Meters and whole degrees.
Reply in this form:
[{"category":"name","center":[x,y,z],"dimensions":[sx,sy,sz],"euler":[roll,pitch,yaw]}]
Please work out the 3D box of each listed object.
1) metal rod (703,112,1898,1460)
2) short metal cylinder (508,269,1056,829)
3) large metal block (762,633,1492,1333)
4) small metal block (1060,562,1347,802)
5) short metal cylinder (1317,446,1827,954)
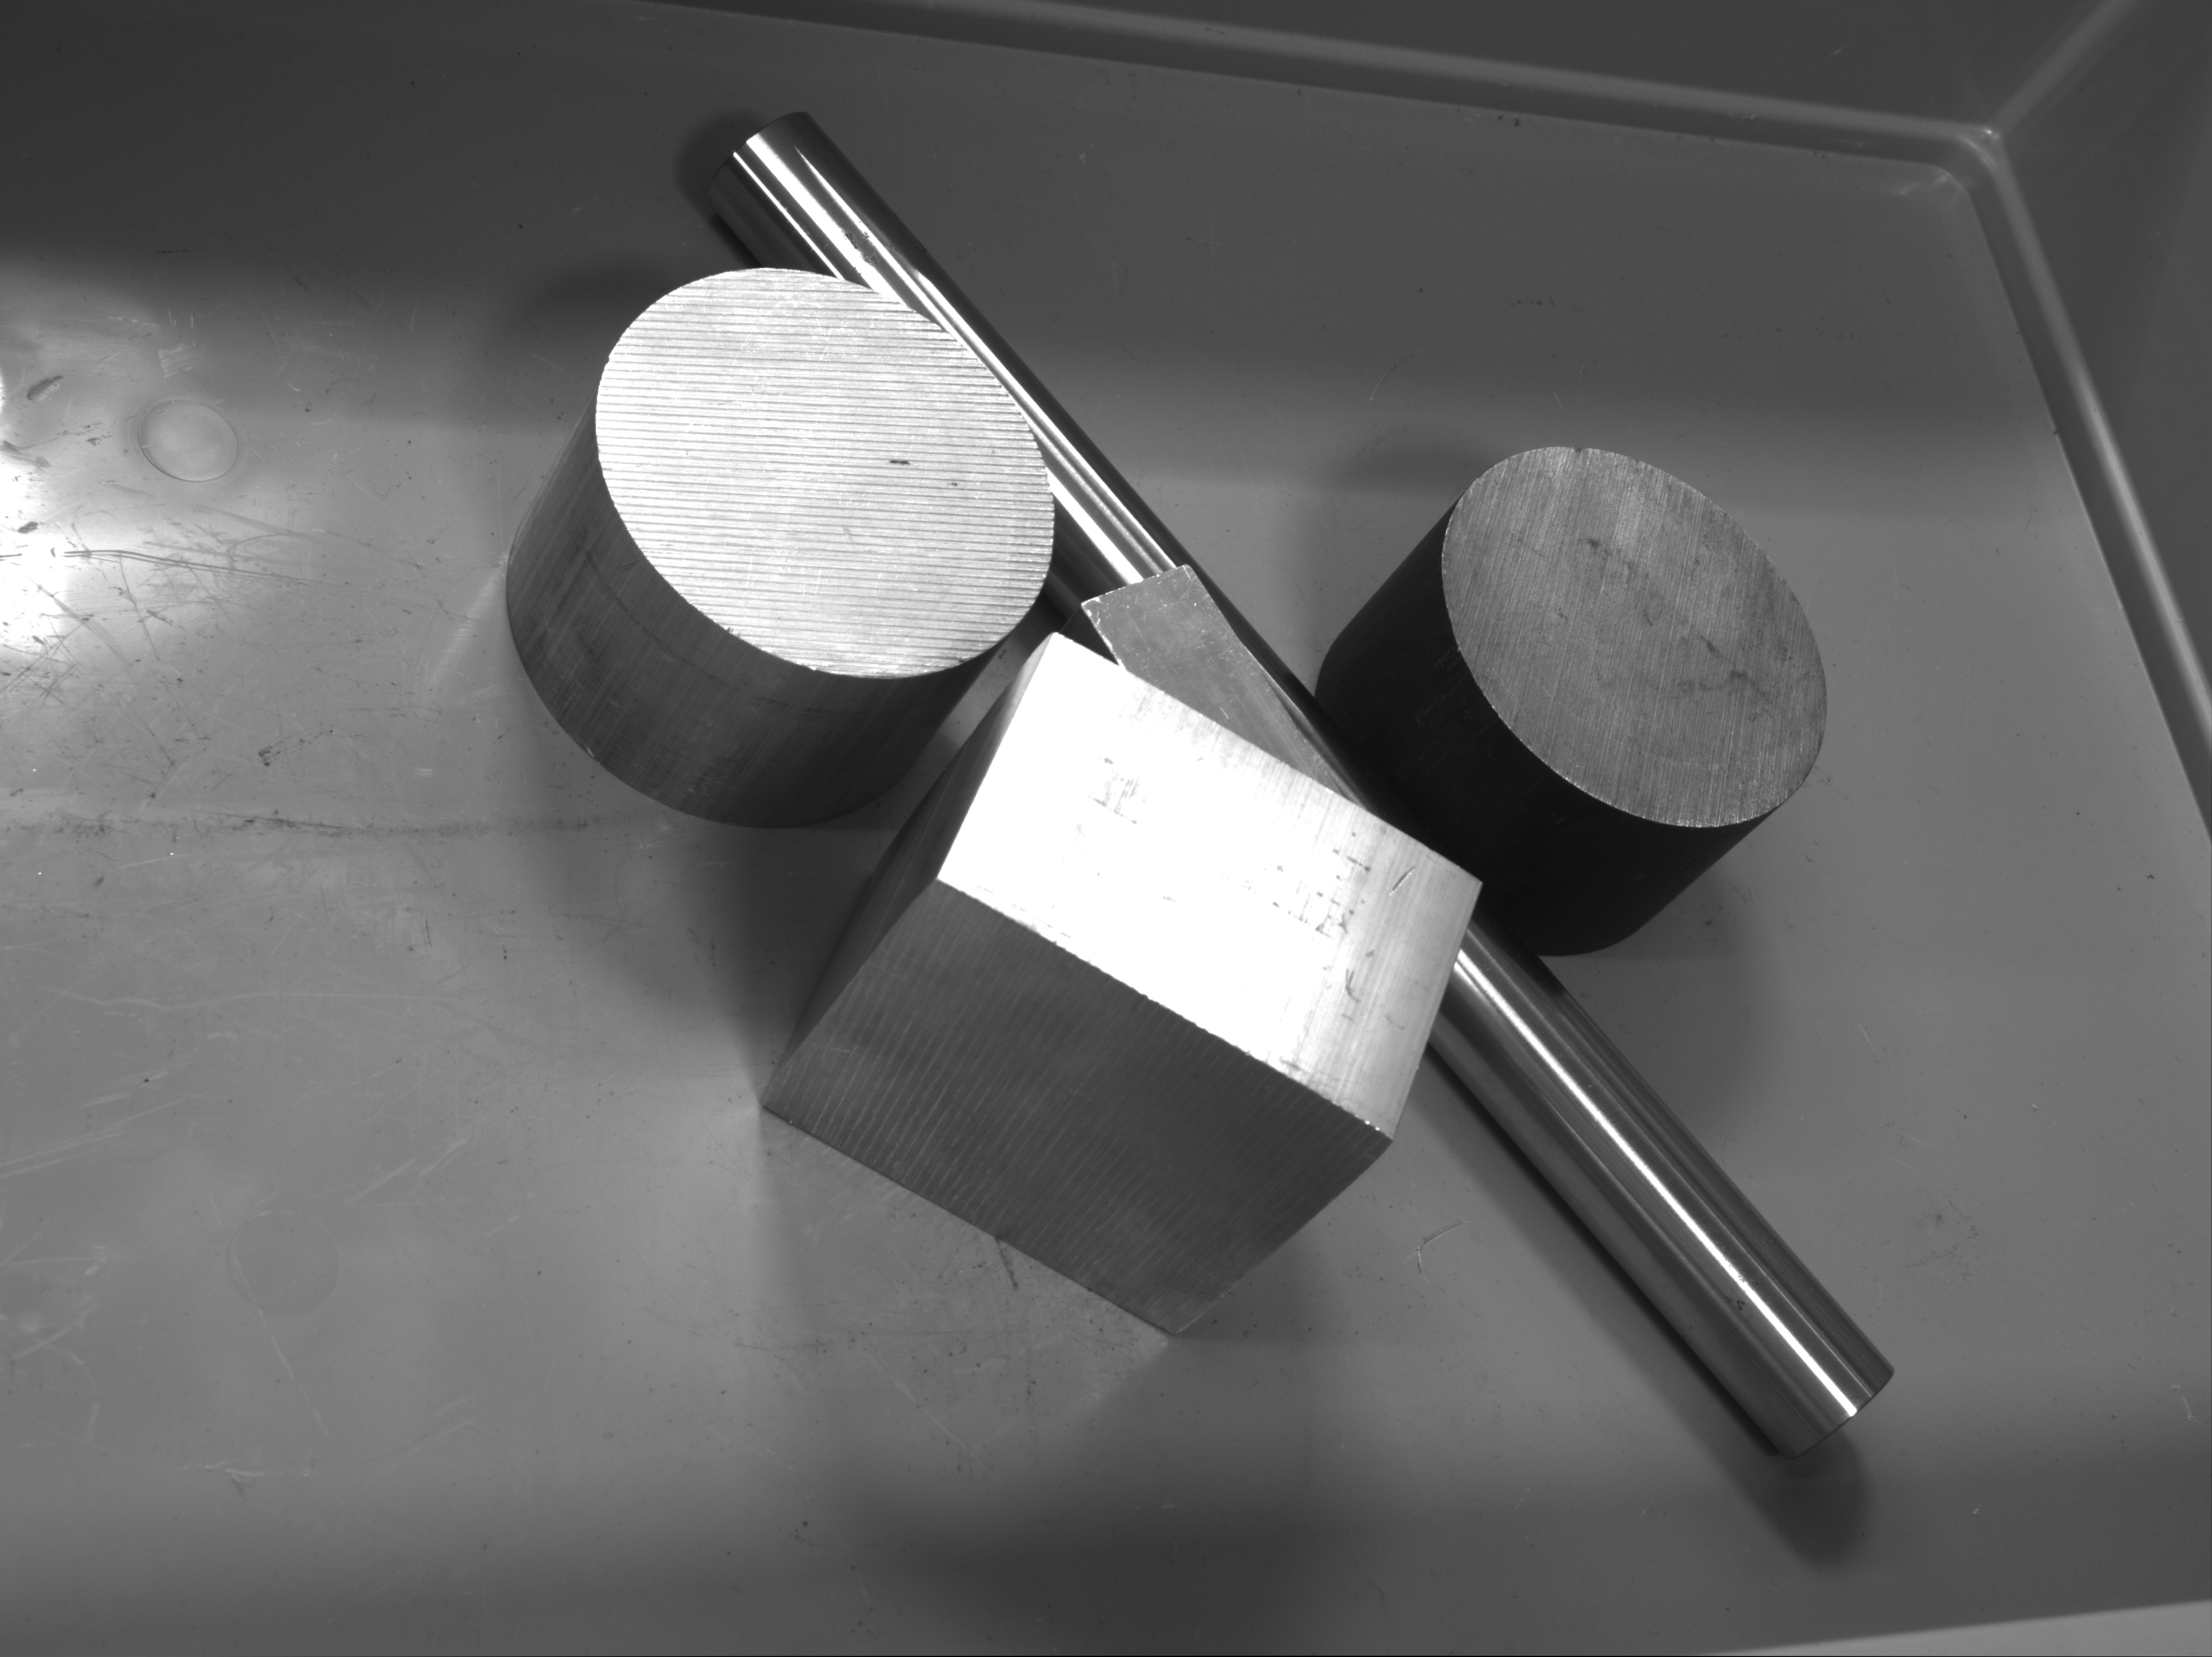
[{"category":"metal rod","center":[0.032,-0.010,0.661],"dimensions":[0.300,0.025,0.025],"euler":[49,51,7]},{"category":"short metal cylinder","center":[-0.055,-0.047,0.621],"dimensions":[0.080,0.050,0.080],"euler":[13,56,-21]},{"category":"large metal block","center":[0.002,0.027,0.586],"dimensions":[0.080,0.080,0.050],"euler":[30,53,-8]},{"category":"small metal block","center":[0.008,-0.009,0.631],"dimensions":[0.025,0.050,0.050],"euler":[-23,74,-36]},{"category":"short metal cylinder","center":[0.086,-0.024,0.682],"dimensions":[0.080,0.050,0.080],"euler":[13,56,-21]}]
